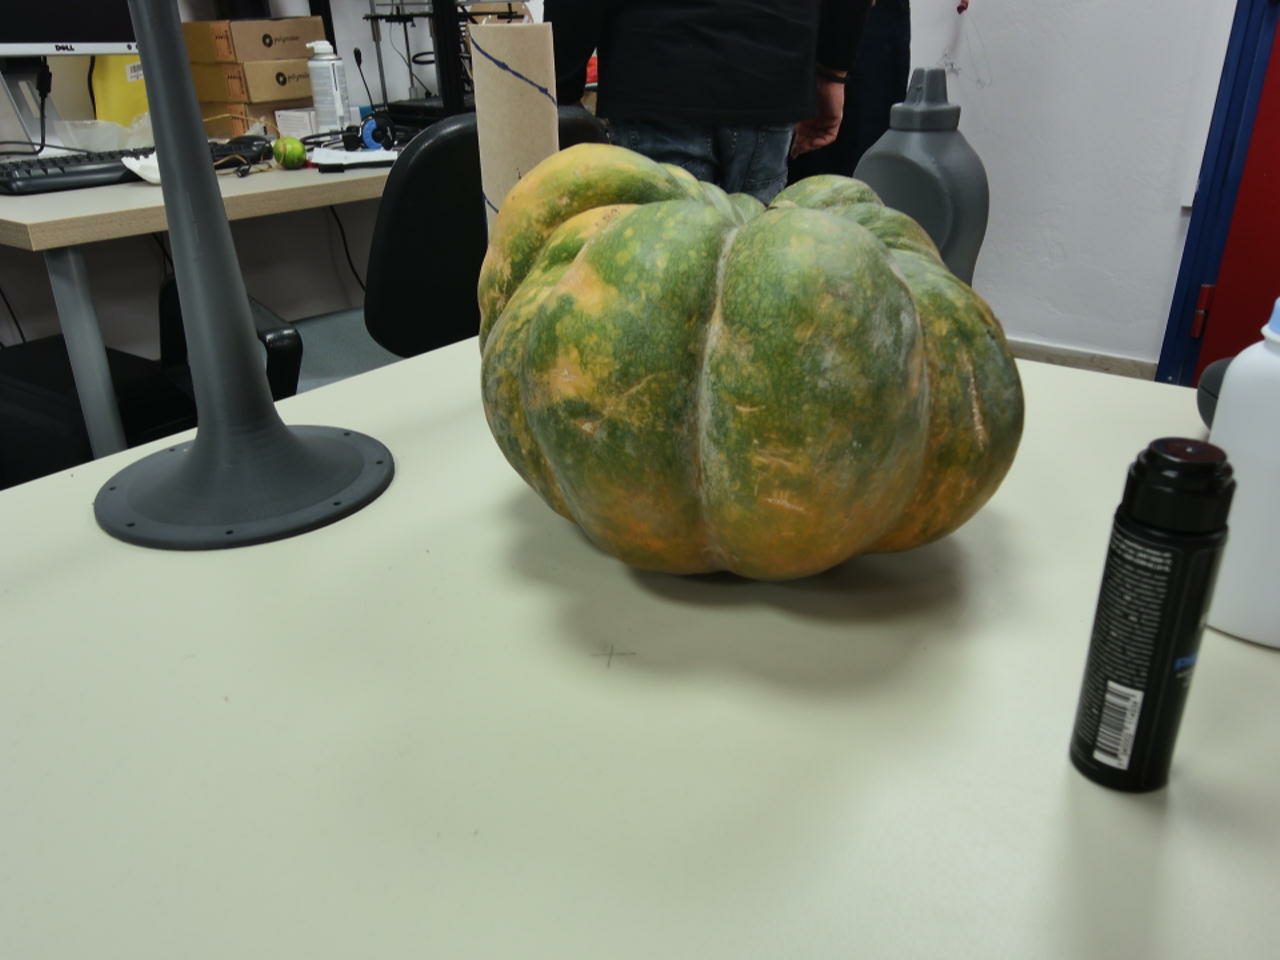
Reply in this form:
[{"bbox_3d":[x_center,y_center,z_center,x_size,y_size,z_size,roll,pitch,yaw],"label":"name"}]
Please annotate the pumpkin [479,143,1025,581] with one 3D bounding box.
[{"bbox_3d":[0.046,-0.060,0.458,0.237,0.173,0.270,-6,24,-13],"label":"pumpkin"}]
